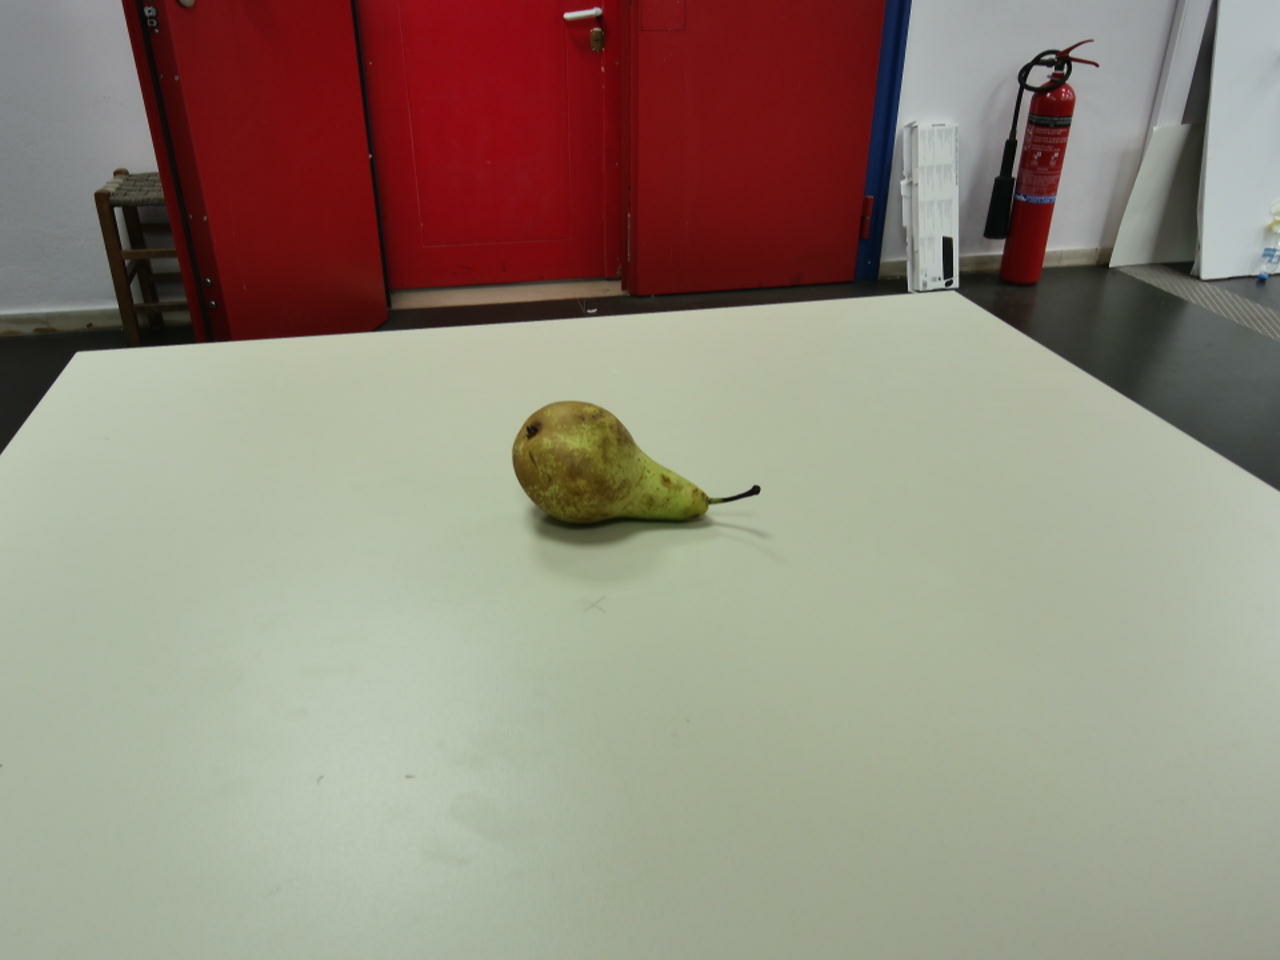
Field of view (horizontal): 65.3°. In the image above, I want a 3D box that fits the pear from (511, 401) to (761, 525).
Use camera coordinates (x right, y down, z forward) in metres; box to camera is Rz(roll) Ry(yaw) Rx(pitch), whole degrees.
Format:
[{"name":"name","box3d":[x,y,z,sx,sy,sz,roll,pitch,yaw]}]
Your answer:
[{"name":"pear","box3d":[-0.004,-0.013,0.606,0.144,0.075,0.071,-2,27,-5]}]
